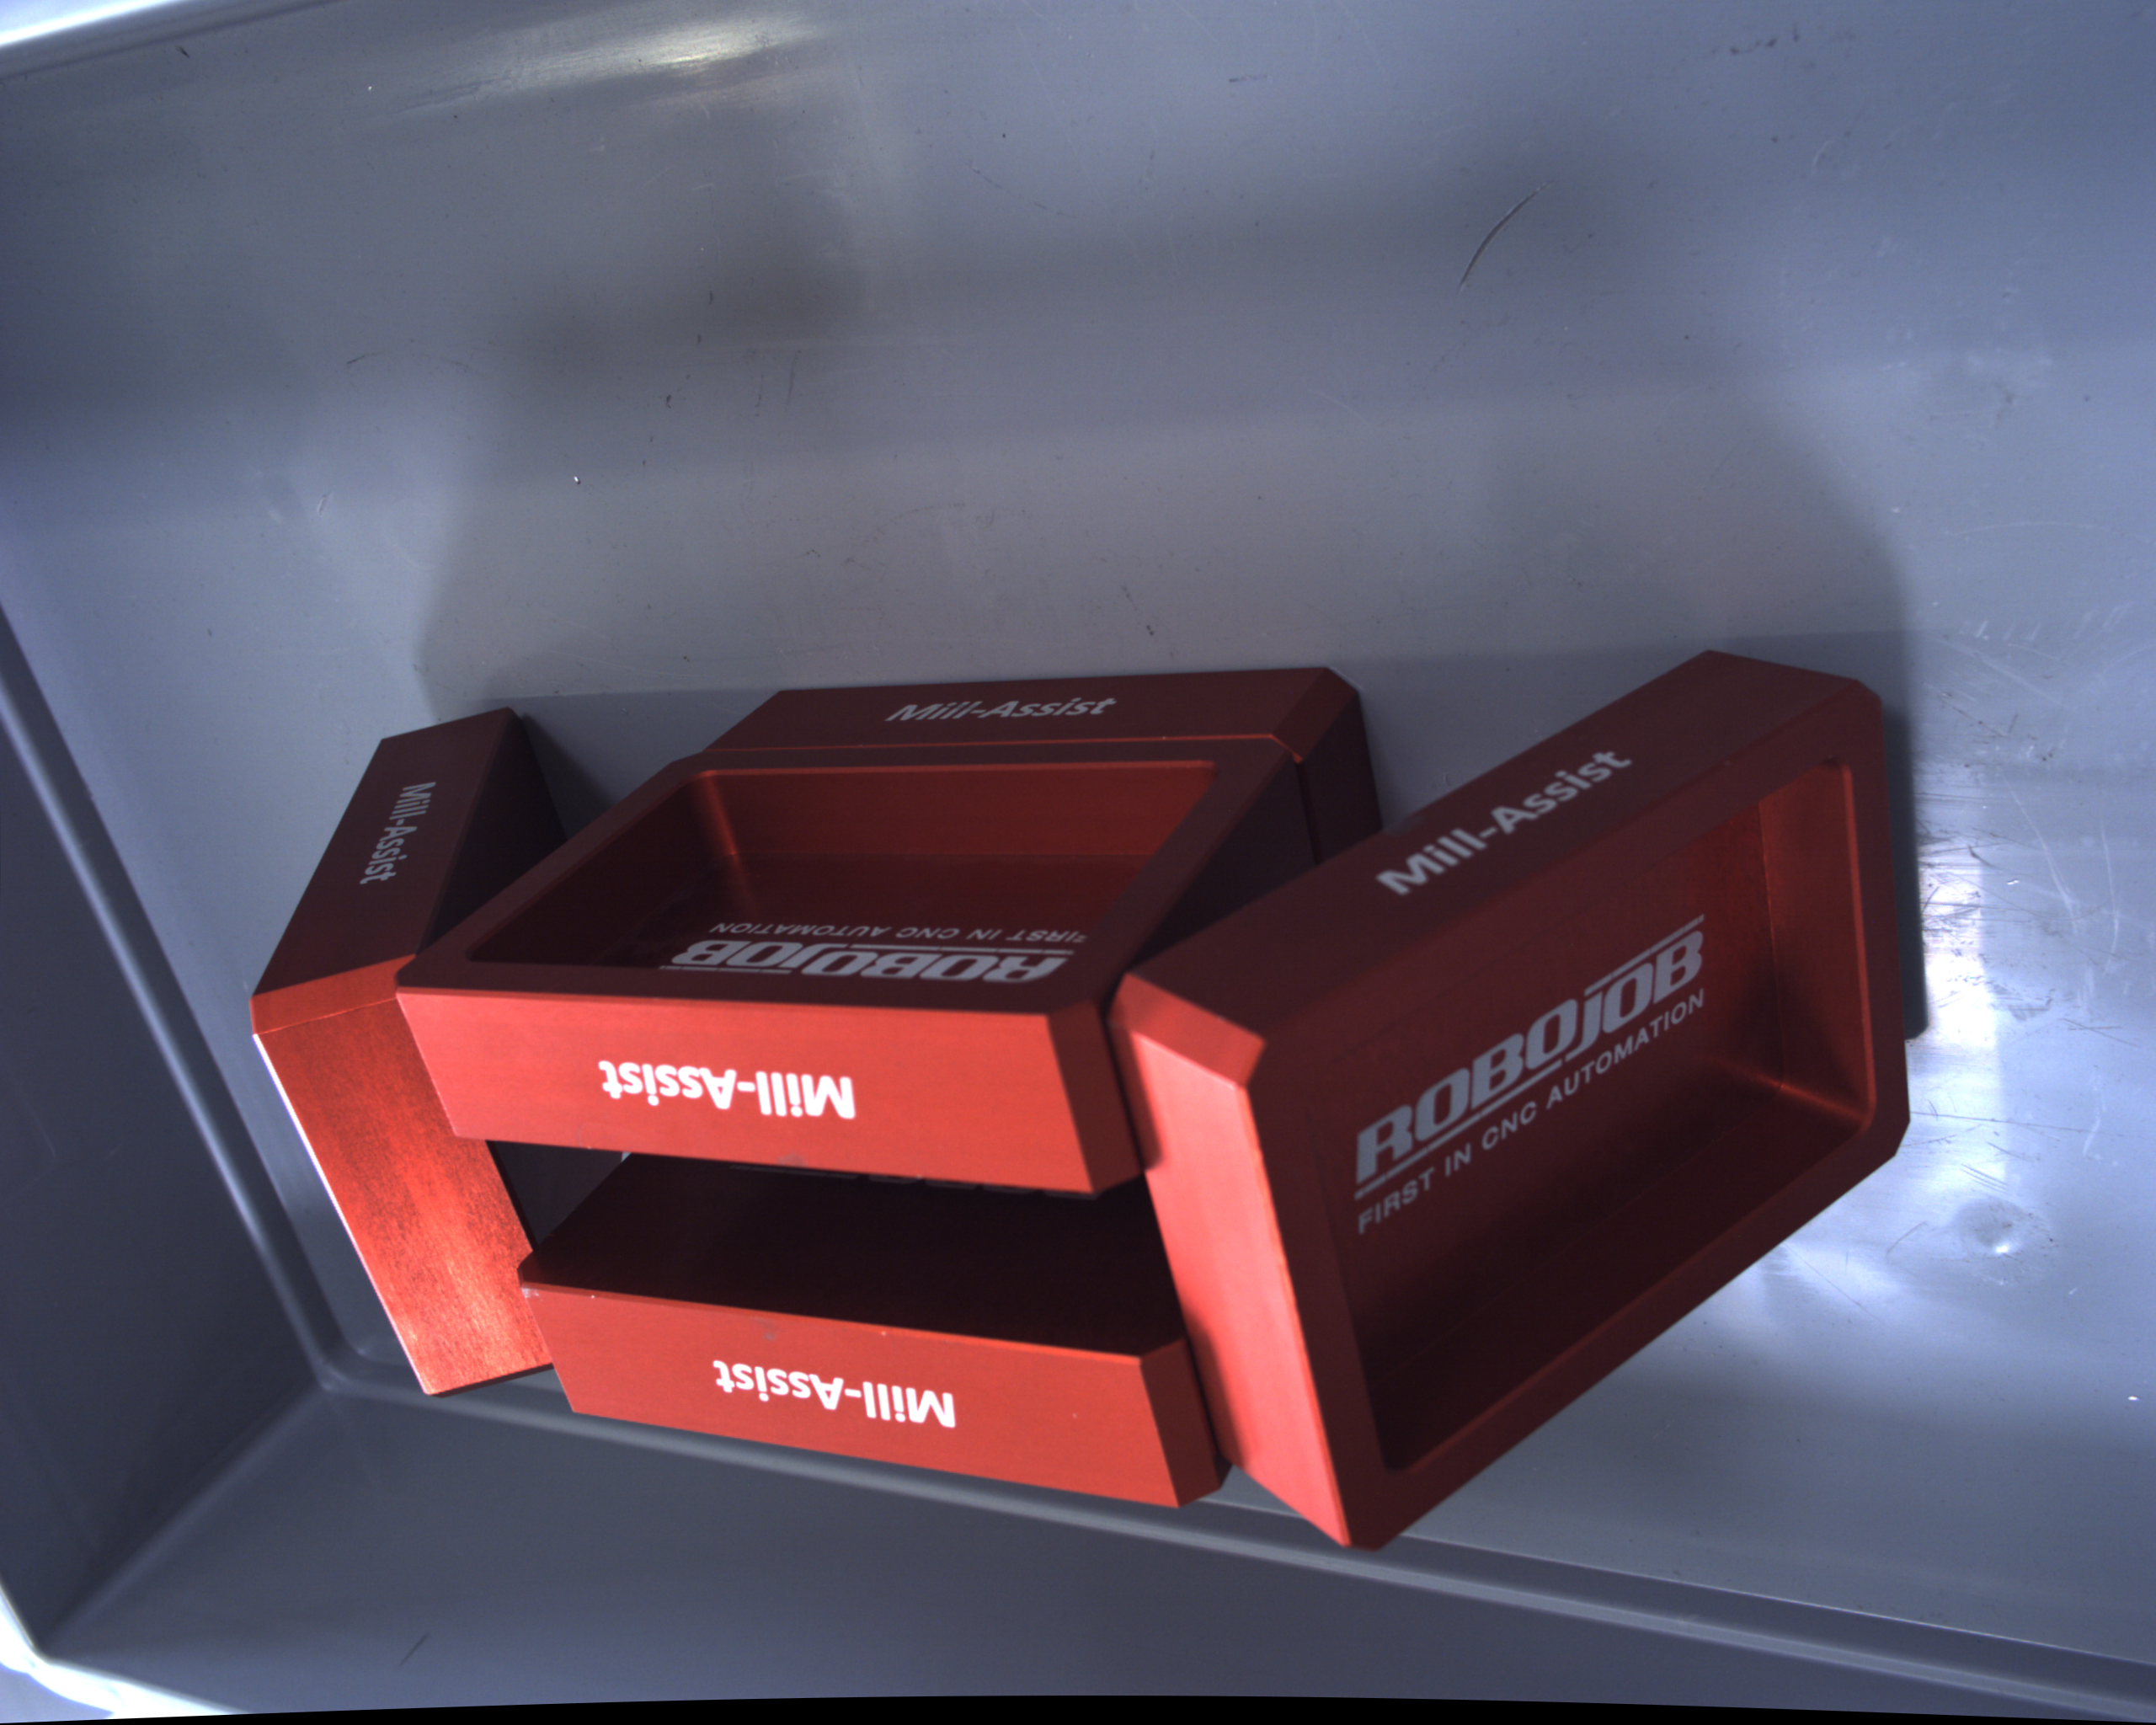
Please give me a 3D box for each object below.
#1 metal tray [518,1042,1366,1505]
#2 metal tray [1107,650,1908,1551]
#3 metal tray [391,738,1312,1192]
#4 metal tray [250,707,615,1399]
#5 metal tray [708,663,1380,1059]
[{"bbox_3d":[-0.022,0.066,0.378,0.130,0.090,0.030,0,118,28],"label":"metal tray"},{"bbox_3d":[0.073,0.033,0.322,0.030,0.131,0.089,23,134,52],"label":"metal tray"},{"bbox_3d":[-0.036,0.013,0.352,0.130,0.090,0.030,0,118,28],"label":"metal tray"},{"bbox_3d":[-0.123,0.033,0.426,0.030,0.130,0.089,-15,116,0],"label":"metal tray"},{"bbox_3d":[-0.004,0.010,0.412,0.130,0.030,0.089,-1,118,28],"label":"metal tray"}]
